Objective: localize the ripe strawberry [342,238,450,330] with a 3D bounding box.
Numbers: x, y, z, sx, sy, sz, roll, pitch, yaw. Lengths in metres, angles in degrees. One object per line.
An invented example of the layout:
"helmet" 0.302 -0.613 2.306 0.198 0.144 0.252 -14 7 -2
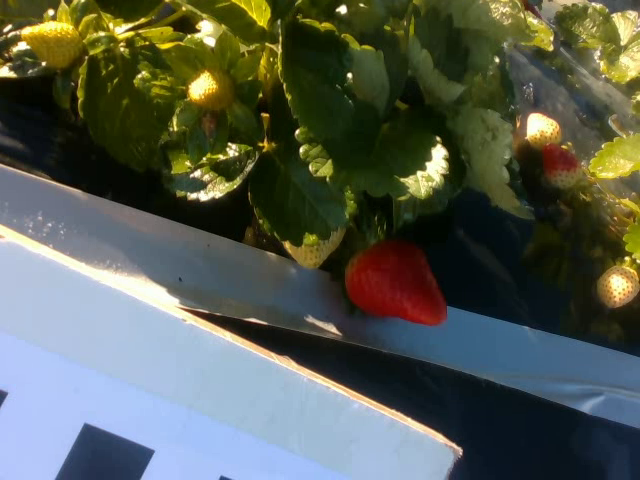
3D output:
"ripe strawberry" 0.036 0.022 0.282 0.045 0.049 0.063 -38 42 -10
